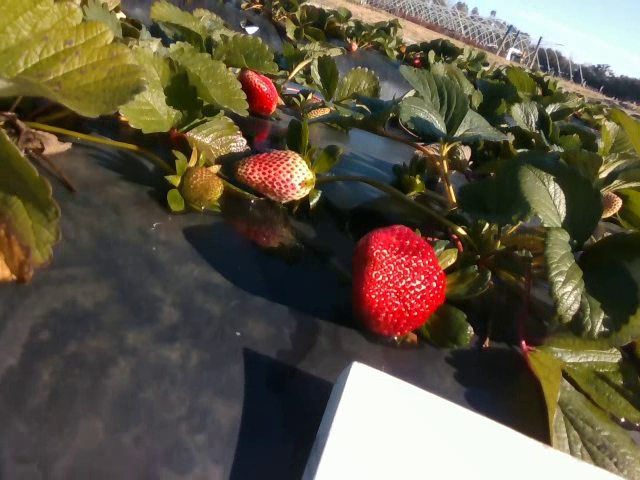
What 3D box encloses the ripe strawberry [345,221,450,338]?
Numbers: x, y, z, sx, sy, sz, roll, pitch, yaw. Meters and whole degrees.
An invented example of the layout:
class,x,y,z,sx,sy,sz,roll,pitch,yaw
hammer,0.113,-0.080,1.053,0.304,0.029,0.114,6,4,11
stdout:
class,x,y,z,sx,sy,sz,roll,pitch,yaw
ripe strawberry,0.025,0.016,0.240,0.058,0.066,0.062,-28,-18,-1
